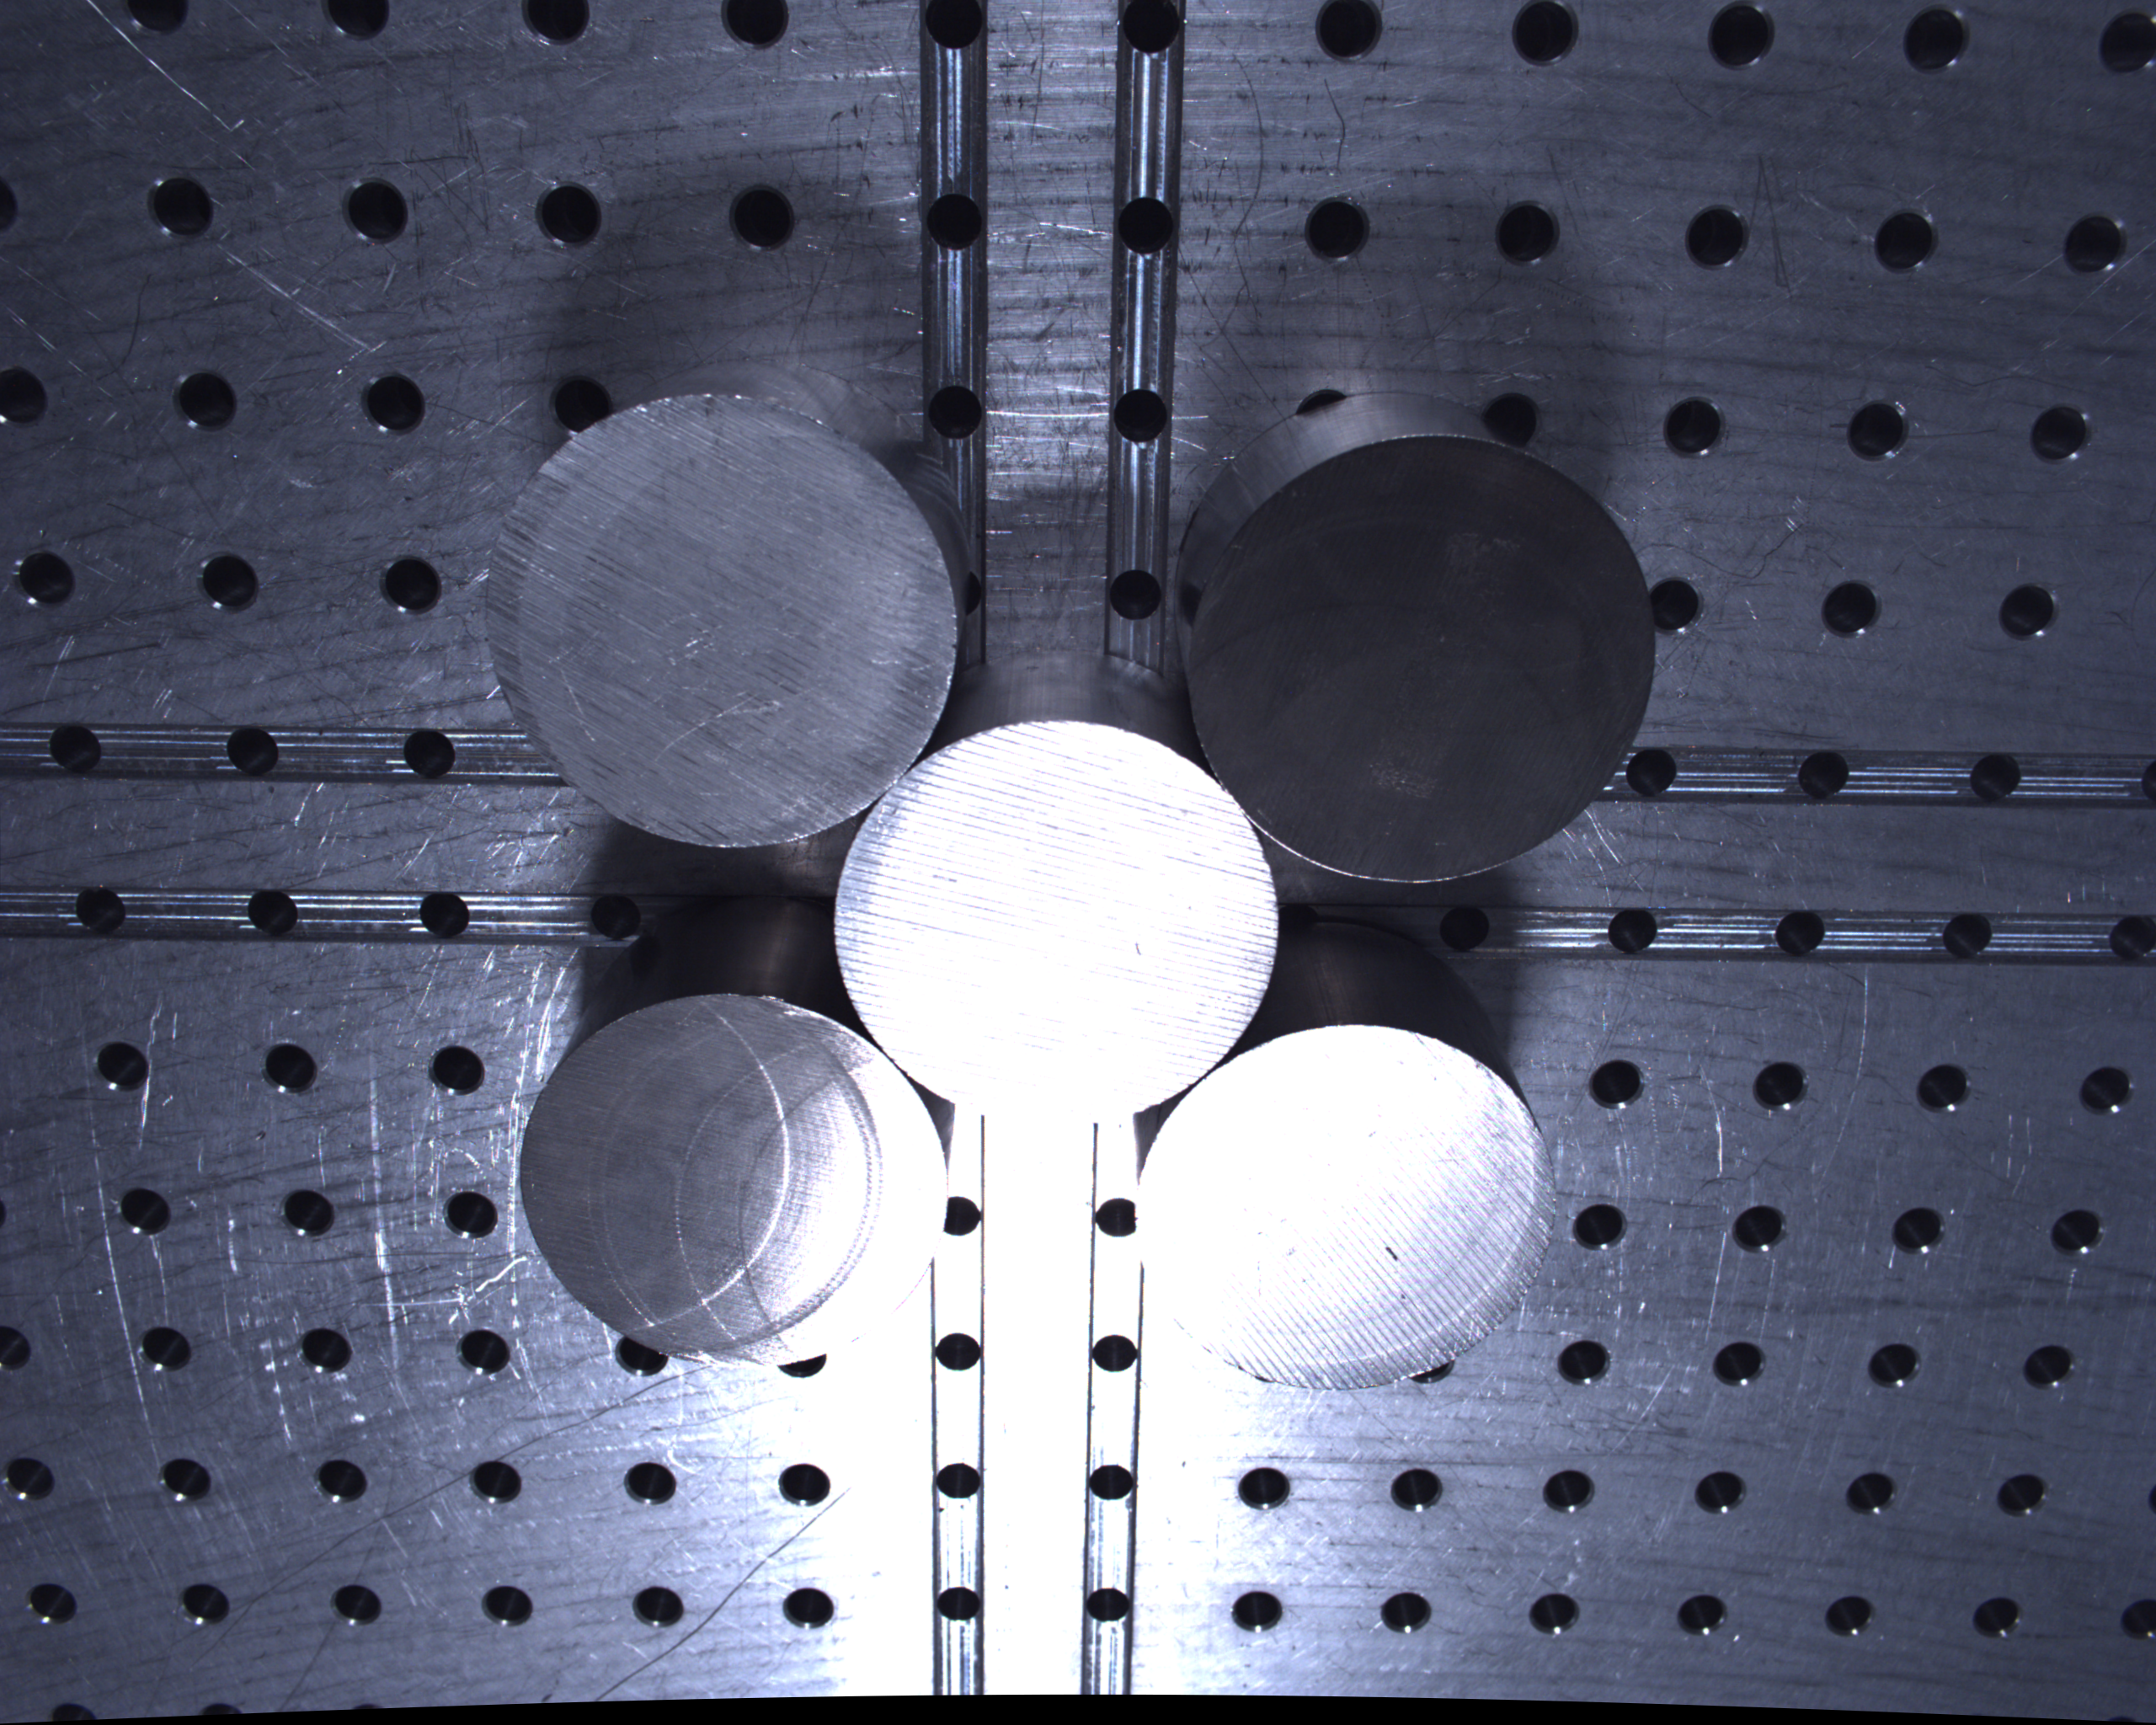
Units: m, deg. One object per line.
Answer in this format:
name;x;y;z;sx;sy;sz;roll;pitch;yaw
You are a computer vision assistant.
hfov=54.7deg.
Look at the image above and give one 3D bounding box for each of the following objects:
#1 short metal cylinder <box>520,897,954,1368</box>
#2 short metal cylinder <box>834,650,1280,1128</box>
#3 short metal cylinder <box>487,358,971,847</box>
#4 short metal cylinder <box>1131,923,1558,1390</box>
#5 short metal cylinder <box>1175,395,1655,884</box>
short metal cylinder;-0.065;0.053;0.418;0.081;0.050;0.079;0;110;-1
short metal cylinder;-0.004;0.004;0.401;0.081;0.050;0.079;0;110;-1
short metal cylinder;-0.061;-0.049;0.381;0.081;0.050;0.079;0;110;-1
short metal cylinder;0.051;0.058;0.422;0.081;0.050;0.079;0;110;-1
short metal cylinder;0.059;-0.042;0.383;0.081;0.050;0.079;0;110;-1
